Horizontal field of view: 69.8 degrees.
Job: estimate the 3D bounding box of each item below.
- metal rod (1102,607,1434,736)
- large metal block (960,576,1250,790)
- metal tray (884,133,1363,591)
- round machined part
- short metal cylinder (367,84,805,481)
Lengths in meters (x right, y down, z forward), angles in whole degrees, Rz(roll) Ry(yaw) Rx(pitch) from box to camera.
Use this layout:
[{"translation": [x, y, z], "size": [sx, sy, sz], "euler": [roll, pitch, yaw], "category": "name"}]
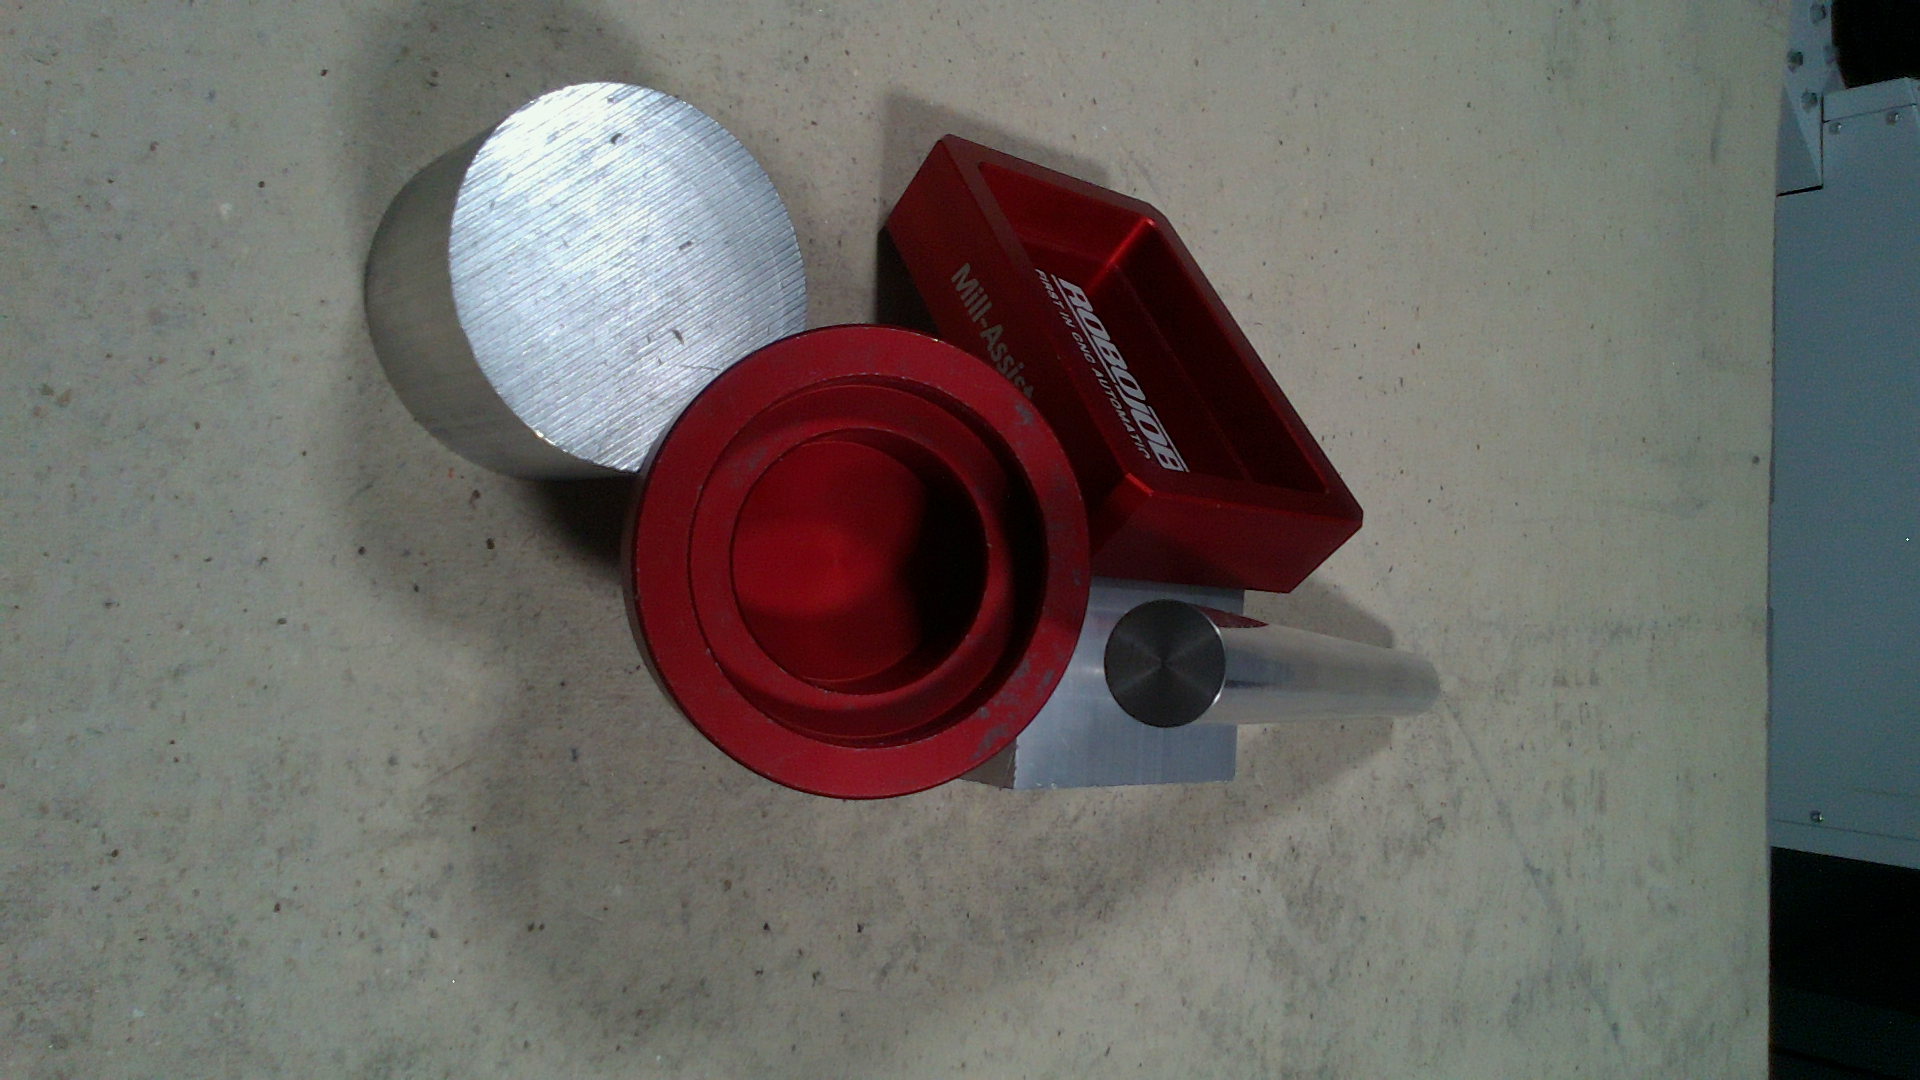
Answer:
[{"translation": [0.106, 0.040, 0.401], "size": [0.301, 0.025, 0.025], "euler": [12, 82, -63], "category": "metal rod"}, {"translation": [0.020, 0.035, 0.369], "size": [0.080, 0.080, 0.050], "euler": [6, 86, -40], "category": "large metal block"}, {"translation": [0.042, -0.048, 0.372], "size": [0.090, 0.030, 0.130], "euler": [6, 47, -40], "category": "metal tray"}, {"translation": [-0.025, 0.004, 0.300], "size": [0.098, 0.042, 0.098], "euler": [0, 89, -20], "category": "round machined part"}, {"translation": [-0.082, -0.054, 0.305], "size": [0.080, 0.050, 0.080], "euler": [0, 90, -40], "category": "short metal cylinder"}]
